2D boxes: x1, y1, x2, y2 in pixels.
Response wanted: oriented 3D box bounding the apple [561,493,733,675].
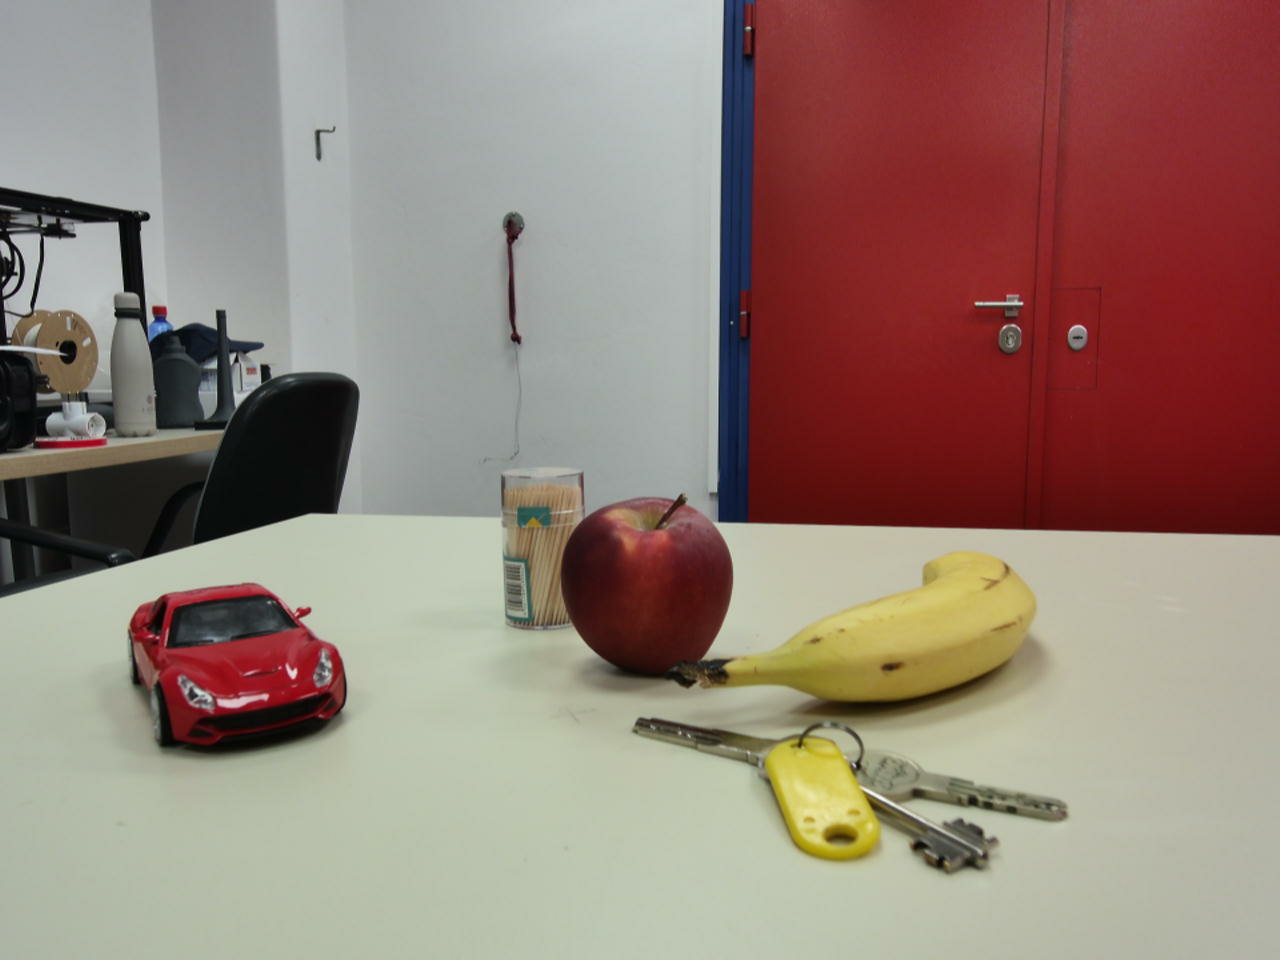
[{"bbox_3d":[0.003,0.041,0.406,0.070,0.072,0.070,-1,4,0],"label":"apple"}]
